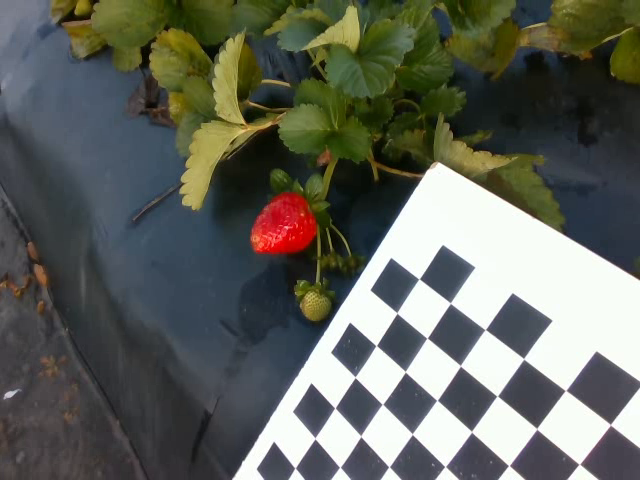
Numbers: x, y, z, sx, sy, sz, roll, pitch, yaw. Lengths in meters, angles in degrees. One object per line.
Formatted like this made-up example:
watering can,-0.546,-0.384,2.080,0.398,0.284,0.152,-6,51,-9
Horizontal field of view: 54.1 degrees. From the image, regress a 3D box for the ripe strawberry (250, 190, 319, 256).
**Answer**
ripe strawberry,-0.030,-0.007,0.443,0.043,0.052,0.057,7,24,44
